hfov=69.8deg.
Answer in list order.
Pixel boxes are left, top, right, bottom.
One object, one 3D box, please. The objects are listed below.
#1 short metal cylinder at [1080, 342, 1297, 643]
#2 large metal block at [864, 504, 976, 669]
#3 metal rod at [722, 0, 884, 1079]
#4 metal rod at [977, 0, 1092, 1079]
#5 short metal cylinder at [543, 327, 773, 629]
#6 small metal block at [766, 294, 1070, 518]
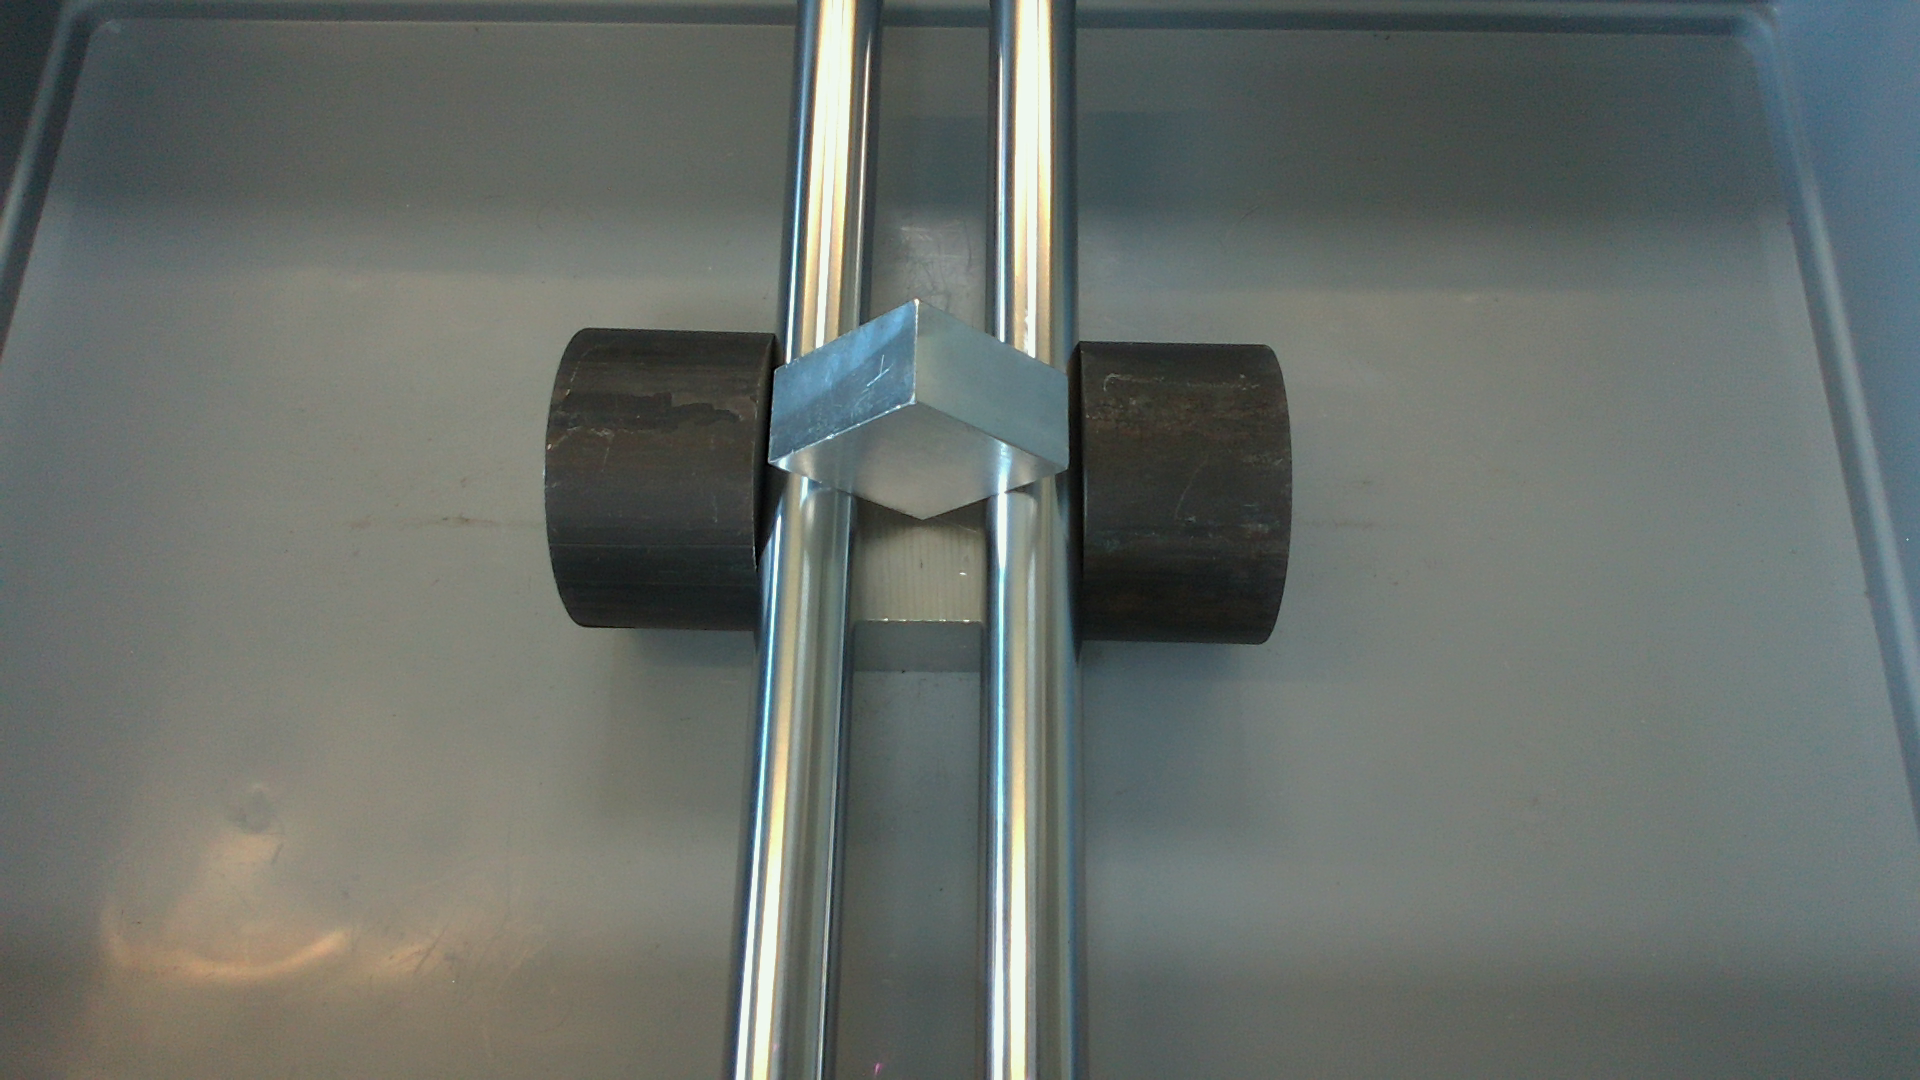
[{"bbox_3d":[0.056,-0.013,0.368,0.050,0.080,0.080,0,70,1],"label":"short metal cylinder"},{"bbox_3d":[-0.009,-0.009,0.383,0.080,0.050,0.080,1,70,0],"label":"large metal block"},{"bbox_3d":[-0.037,-0.018,0.347,0.025,0.025,0.300,1,70,0],"label":"metal rod"},{"bbox_3d":[0.018,-0.020,0.348,0.025,0.025,0.300,1,70,0],"label":"metal rod"},{"bbox_3d":[-0.075,-0.016,0.370,0.050,0.080,0.080,1,70,0],"label":"short metal cylinder"},{"bbox_3d":[-0.009,-0.029,0.324,0.050,0.050,0.025,-18,63,41],"label":"small metal block"}]
